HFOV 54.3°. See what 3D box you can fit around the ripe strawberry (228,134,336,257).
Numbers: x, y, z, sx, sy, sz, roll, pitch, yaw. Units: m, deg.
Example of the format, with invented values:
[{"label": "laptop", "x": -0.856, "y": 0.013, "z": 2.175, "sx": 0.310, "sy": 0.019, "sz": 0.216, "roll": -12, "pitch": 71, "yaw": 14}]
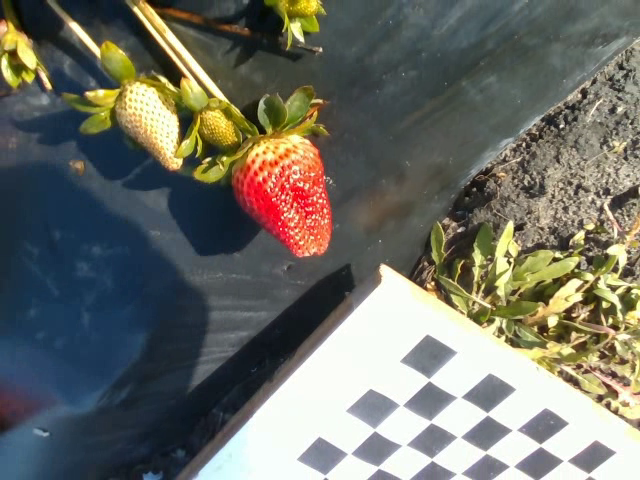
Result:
[{"label": "ripe strawberry", "x": -0.012, "y": -0.015, "z": 0.243, "sx": 0.042, "sy": 0.059, "sz": 0.042, "roll": -29, "pitch": 17, "yaw": 10}]
